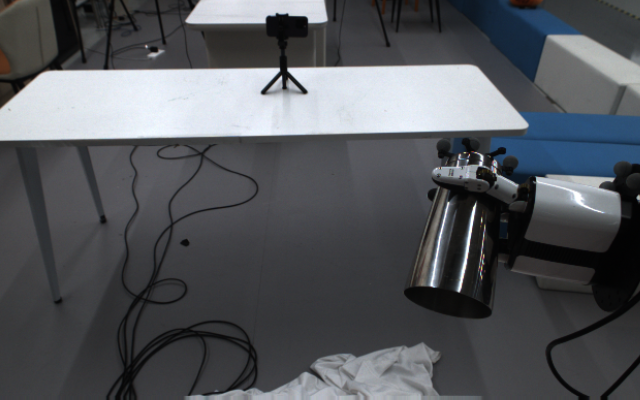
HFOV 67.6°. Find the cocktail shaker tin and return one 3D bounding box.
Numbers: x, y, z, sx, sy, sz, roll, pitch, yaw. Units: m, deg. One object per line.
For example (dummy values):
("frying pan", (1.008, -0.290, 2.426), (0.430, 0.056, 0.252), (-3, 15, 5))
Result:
("cocktail shaker tin", (0.160, 0.031, 0.539), (0.093, 0.093, 0.170), (13, 65, 15))
